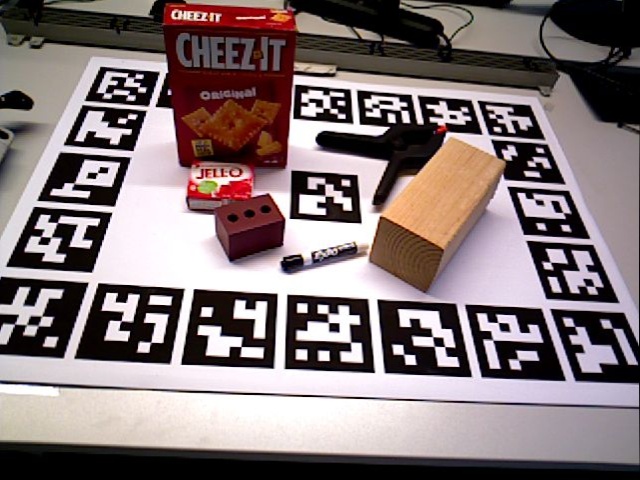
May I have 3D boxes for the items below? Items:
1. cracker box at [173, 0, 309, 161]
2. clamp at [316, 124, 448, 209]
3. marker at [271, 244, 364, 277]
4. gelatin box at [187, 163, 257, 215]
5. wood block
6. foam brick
[{"bbox_3d":[-0.108,-0.209,0.730,0.163,0.219,0.071,2,49,-8],"label":"cracker box"},{"bbox_3d":[0.119,-0.135,0.821,0.199,0.037,0.164,-22,58,-22],"label":"clamp"},{"bbox_3d":[-0.003,0.026,0.685,0.119,0.020,0.019,-12,55,-16],"label":"marker"},{"bbox_3d":[-0.133,-0.069,0.745,0.089,0.031,0.072,3,53,-5],"label":"gelatin box"},{"bbox_3d":[0.160,-0.033,0.713,0.090,0.093,0.201,30,51,19],"label":"wood block"},{"bbox_3d":[-0.090,-0.013,0.686,0.077,0.052,0.052,-17,57,-19],"label":"foam brick"}]
